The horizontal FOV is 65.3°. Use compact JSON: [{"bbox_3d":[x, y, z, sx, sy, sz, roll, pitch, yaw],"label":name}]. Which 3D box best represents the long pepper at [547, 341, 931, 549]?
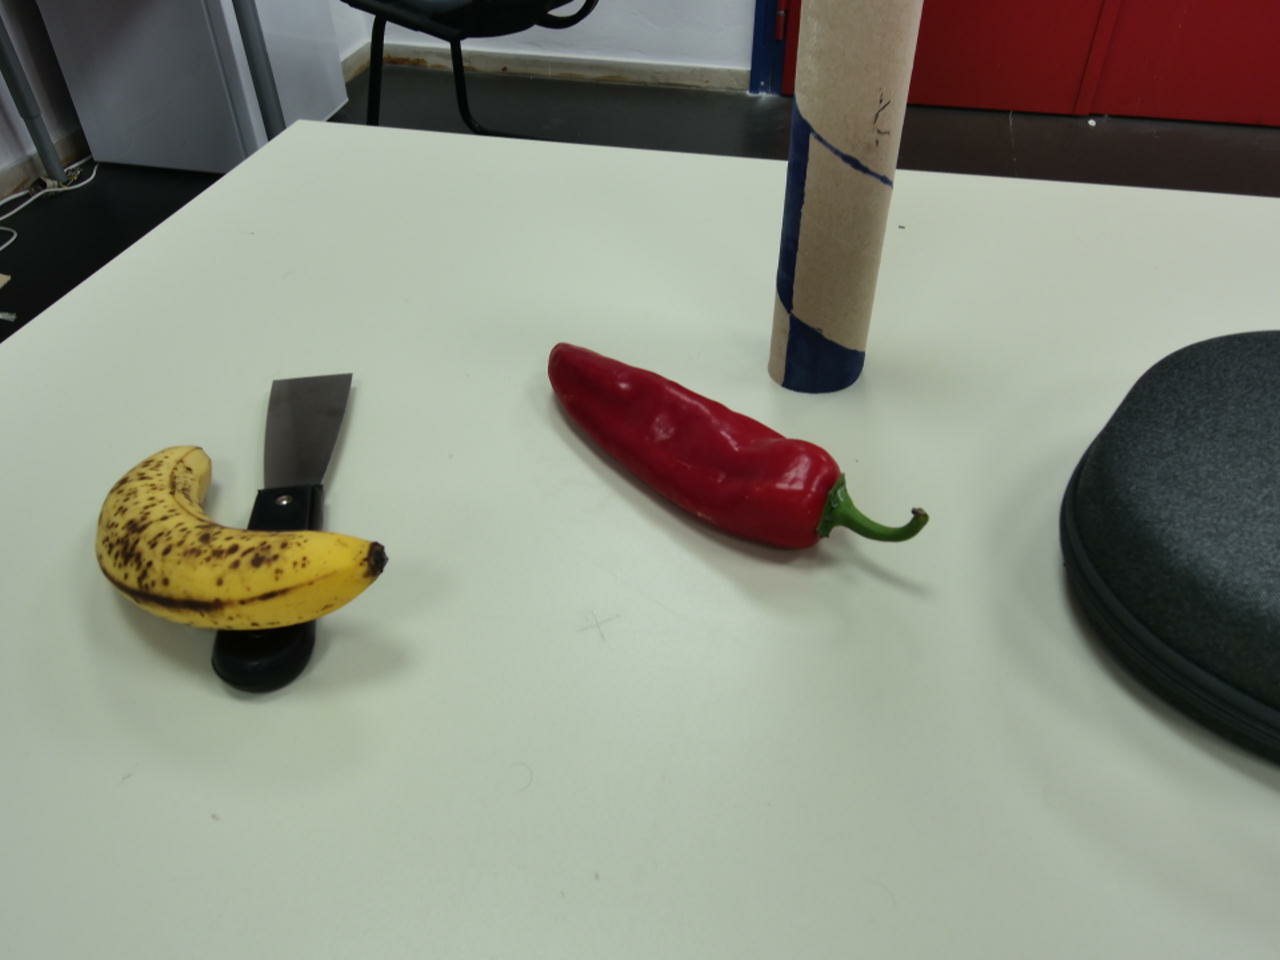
[{"bbox_3d":[0.025,-0.016,0.434,0.050,0.043,0.211,-31,47,-33],"label":"long pepper"}]
